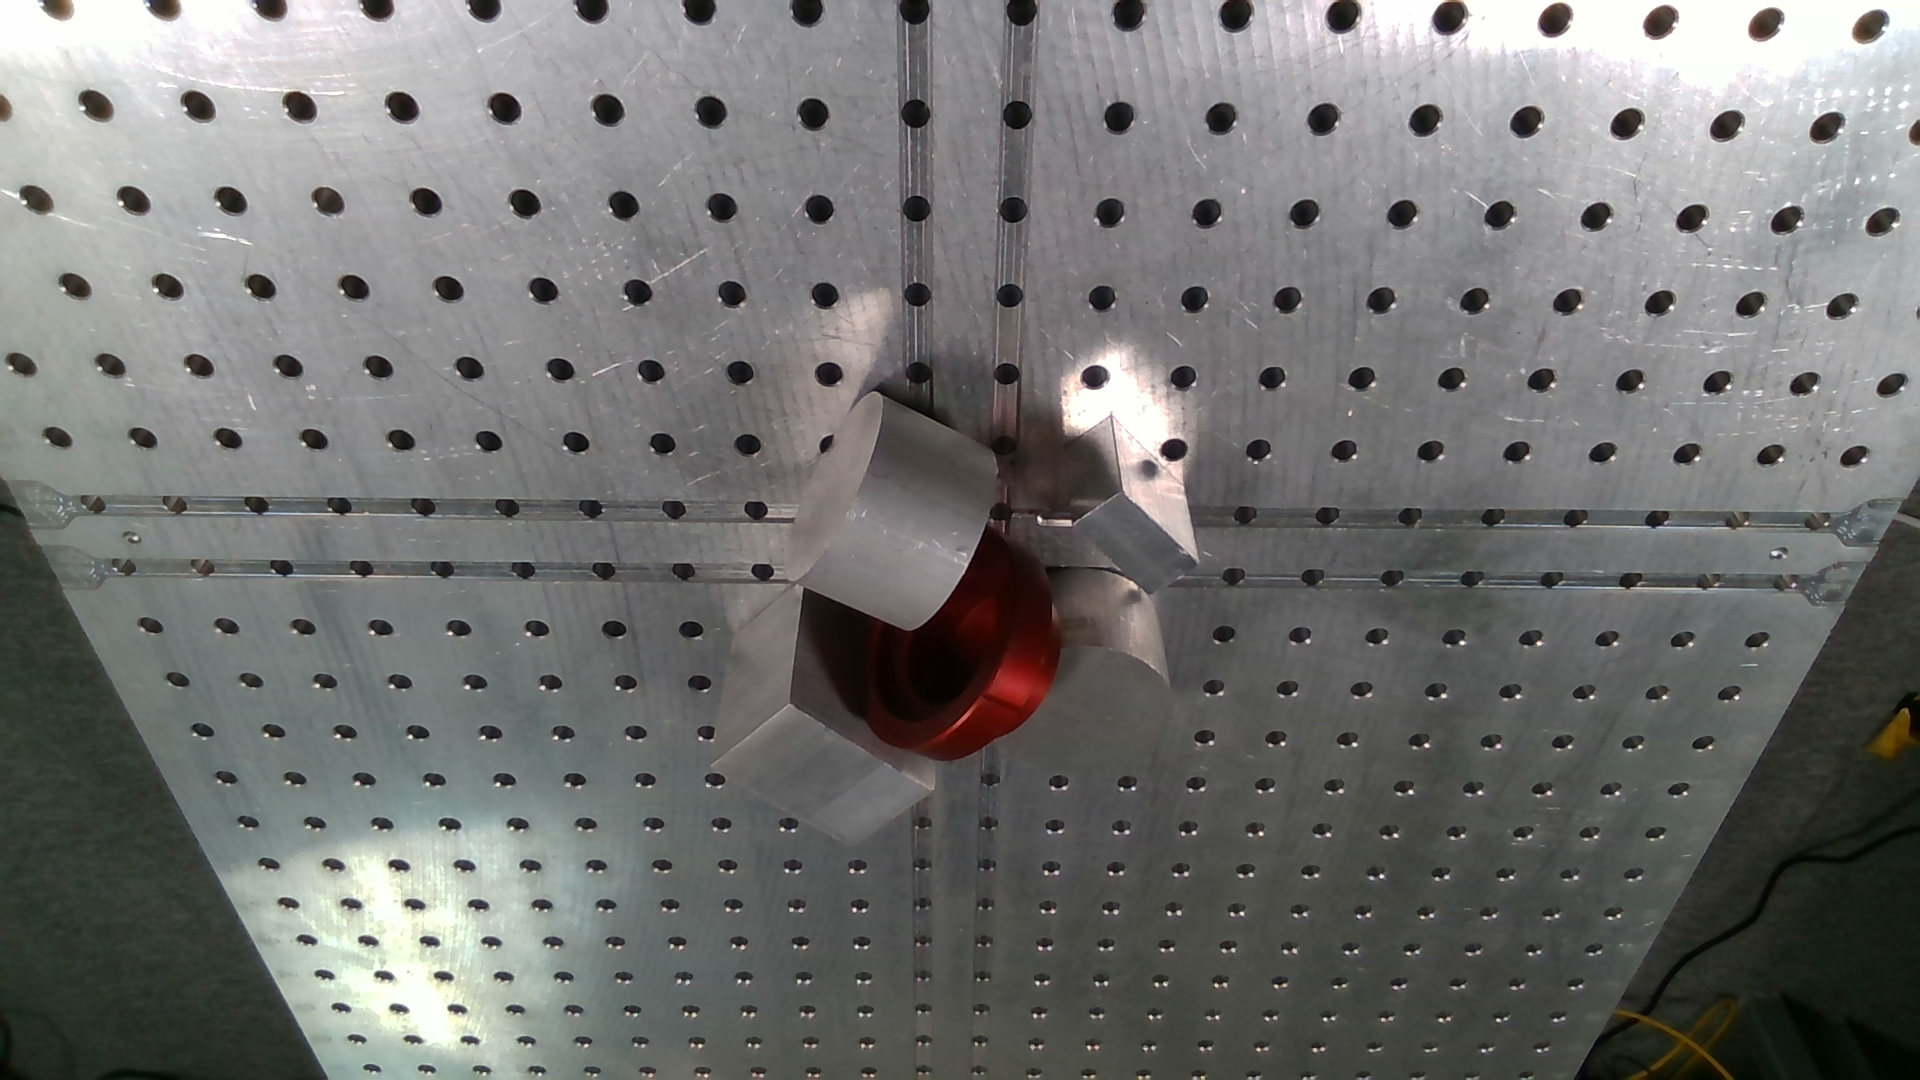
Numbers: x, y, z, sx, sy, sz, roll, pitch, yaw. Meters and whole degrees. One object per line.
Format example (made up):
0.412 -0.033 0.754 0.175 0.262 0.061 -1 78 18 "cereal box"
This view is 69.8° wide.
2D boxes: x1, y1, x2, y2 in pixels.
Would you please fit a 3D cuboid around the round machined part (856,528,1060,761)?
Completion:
0.003 0.044 0.573 0.042 0.098 0.098 26 126 -35 "round machined part"

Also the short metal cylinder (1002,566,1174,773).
0.052 0.058 0.614 0.080 0.050 0.080 0 130 0 "short metal cylinder"

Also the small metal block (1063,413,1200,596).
0.068 -0.014 0.554 0.025 0.050 0.050 -35 122 26 "small metal block"

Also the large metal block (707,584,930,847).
-0.059 0.075 0.610 0.080 0.080 0.050 36 121 -26 "large metal block"

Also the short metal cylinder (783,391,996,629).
-0.029 -0.011 0.537 0.050 0.080 0.080 25 126 -19 "short metal cylinder"
